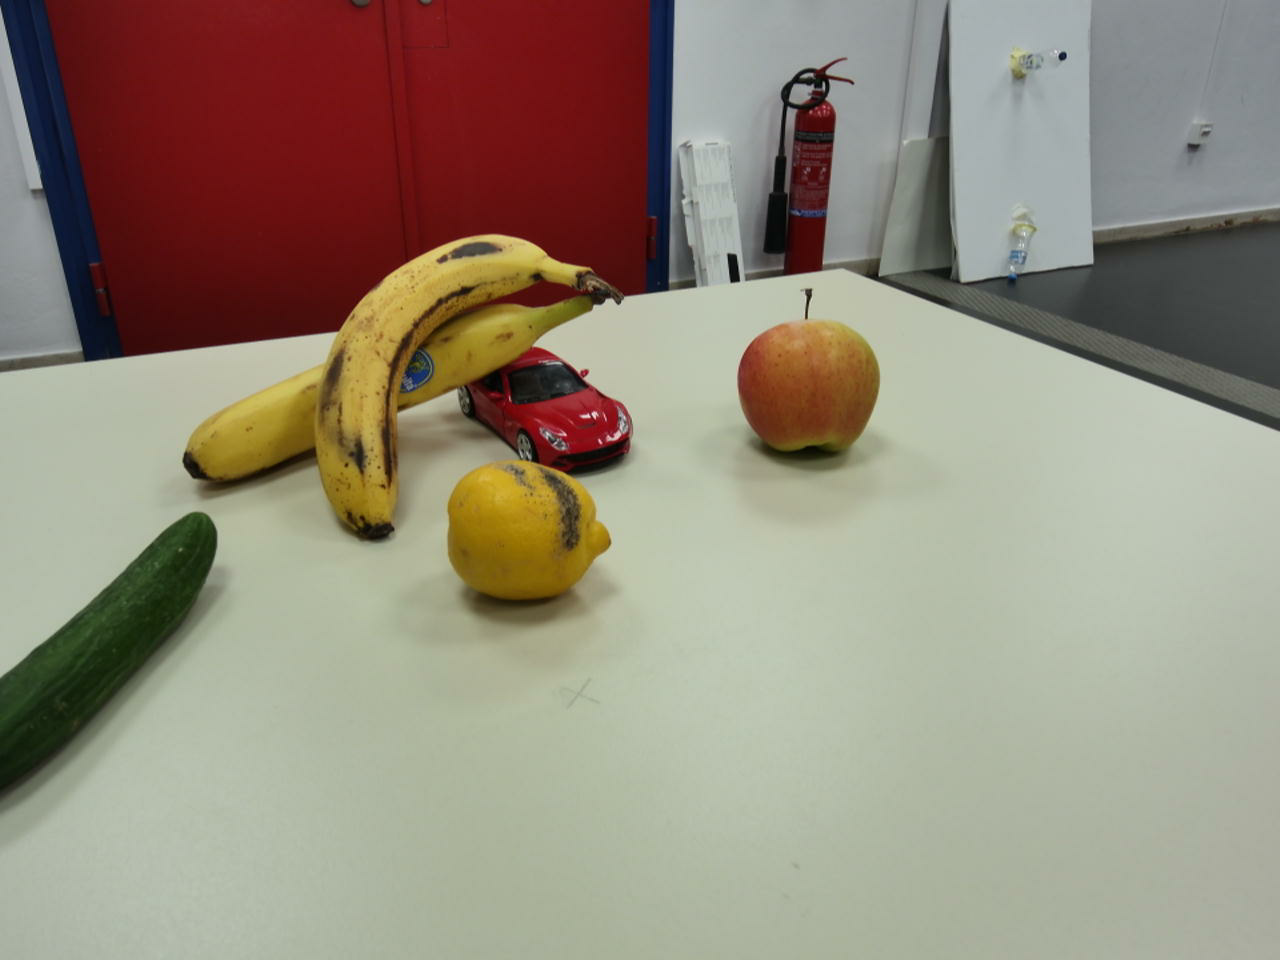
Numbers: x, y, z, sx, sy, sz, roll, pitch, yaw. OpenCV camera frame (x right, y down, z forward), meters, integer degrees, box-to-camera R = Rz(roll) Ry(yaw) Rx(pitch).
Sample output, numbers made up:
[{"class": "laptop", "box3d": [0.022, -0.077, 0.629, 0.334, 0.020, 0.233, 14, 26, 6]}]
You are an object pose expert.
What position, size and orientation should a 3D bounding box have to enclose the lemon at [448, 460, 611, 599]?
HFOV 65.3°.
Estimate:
[{"class": "lemon", "box3d": [-0.049, 0.020, 0.405, 0.061, 0.056, 0.058, -16, 28, -31]}]
